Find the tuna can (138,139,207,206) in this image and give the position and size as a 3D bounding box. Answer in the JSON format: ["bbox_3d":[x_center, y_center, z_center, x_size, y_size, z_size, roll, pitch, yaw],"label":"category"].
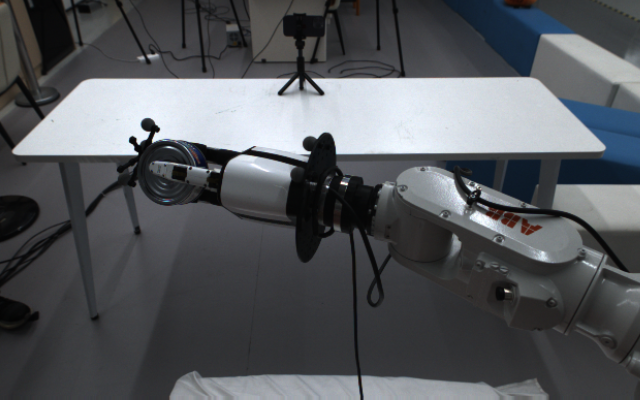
[{"bbox_3d":[-0.188,-0.036,0.628,0.085,0.085,0.034,8,6,9],"label":"tuna can"}]
